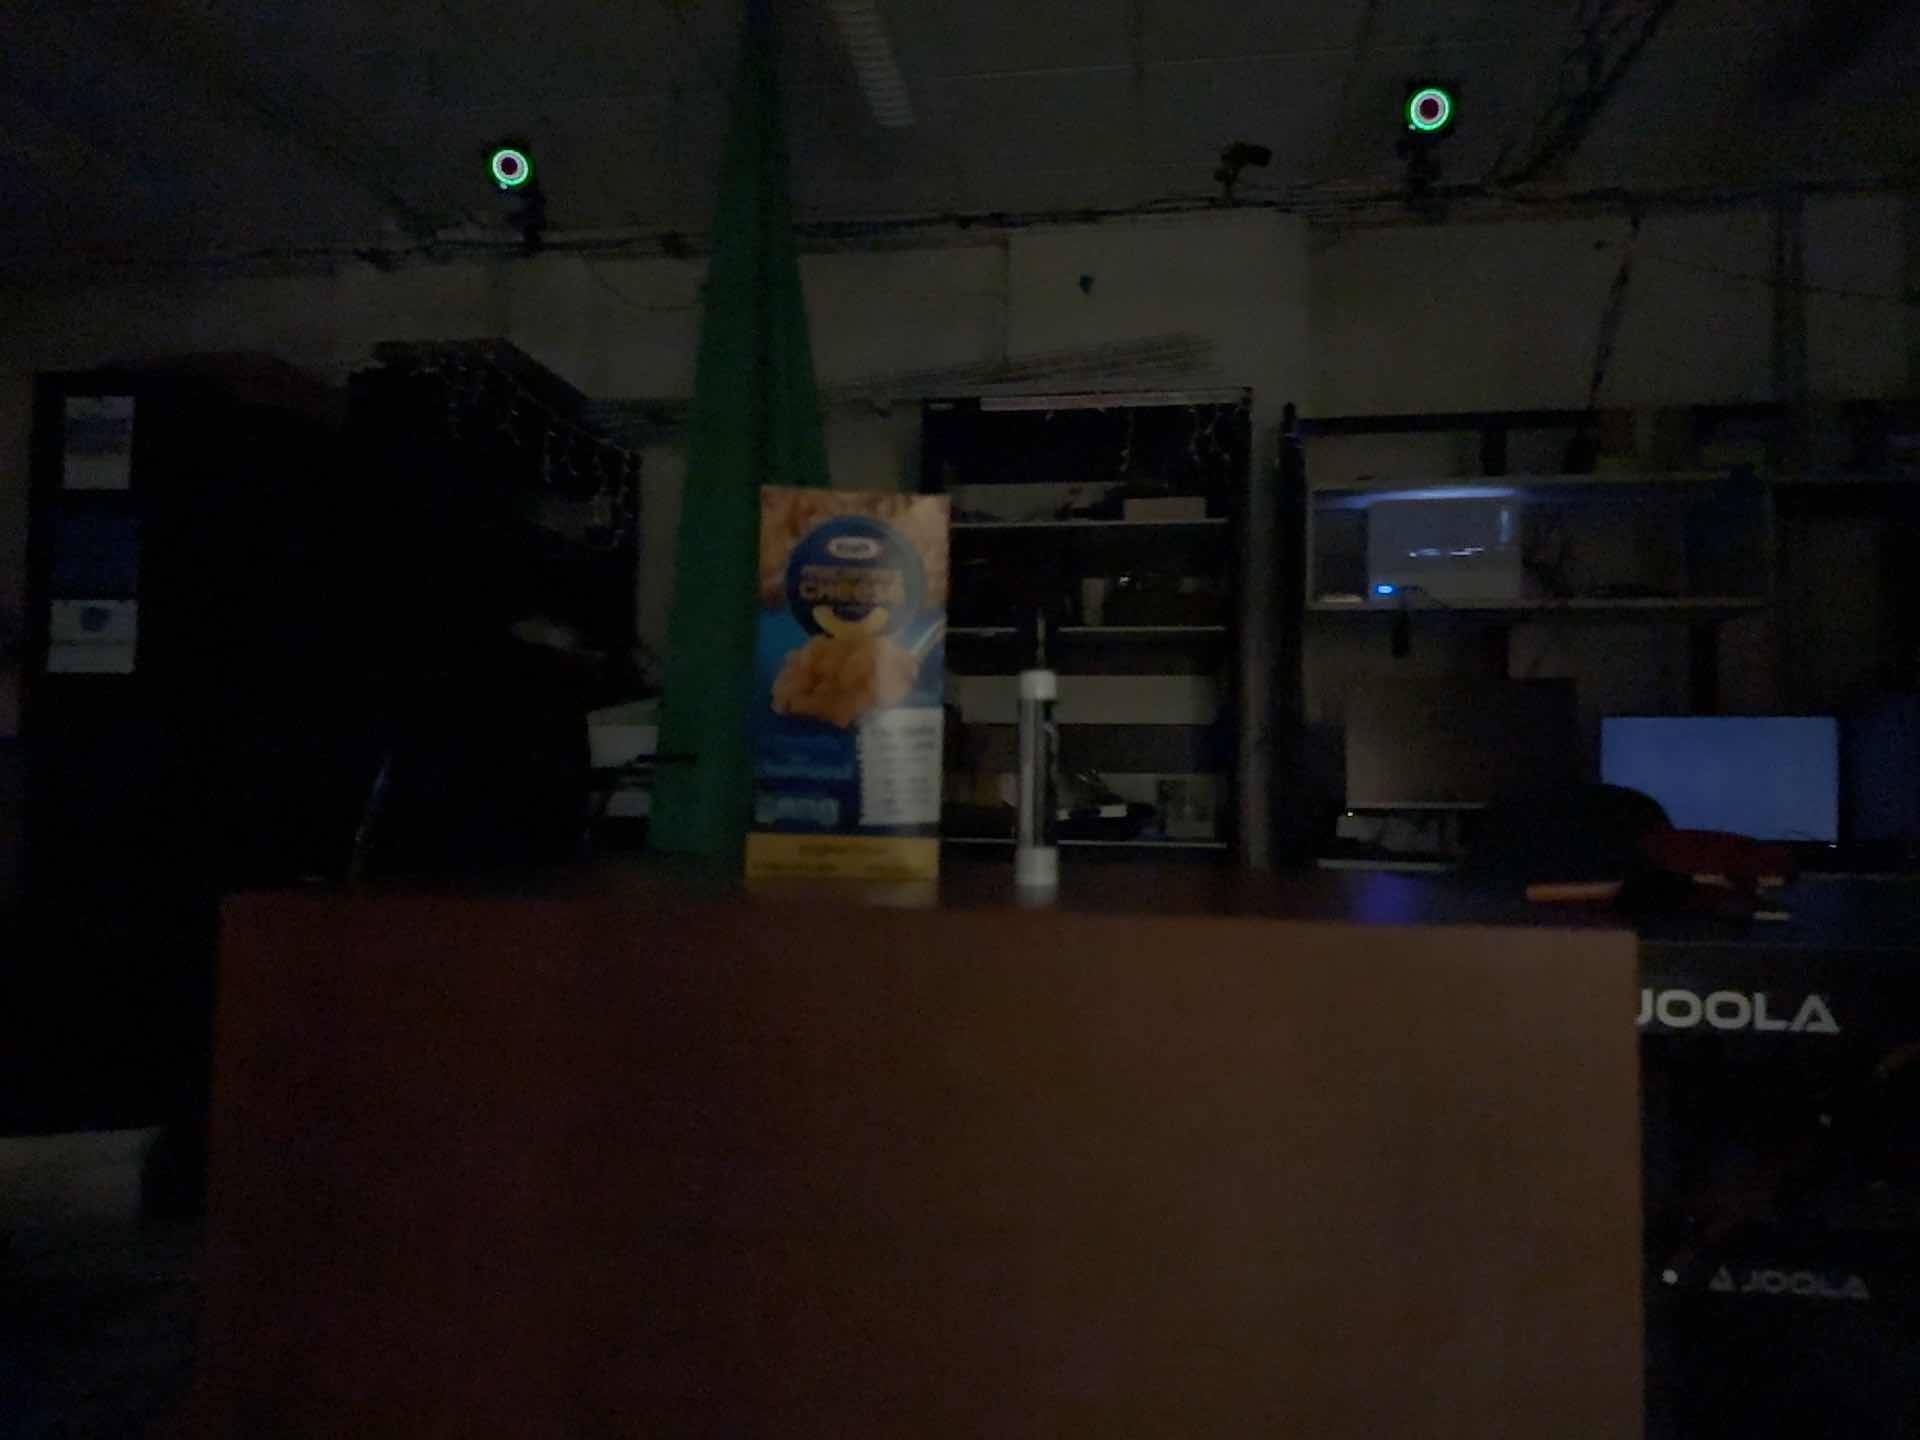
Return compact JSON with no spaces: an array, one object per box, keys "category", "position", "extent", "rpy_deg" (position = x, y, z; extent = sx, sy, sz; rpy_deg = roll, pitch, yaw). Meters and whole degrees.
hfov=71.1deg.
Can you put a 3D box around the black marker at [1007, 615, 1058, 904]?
[{"category":"black marker","position":[0.031,0.016,0.568],"extent":[0.020,0.121,0.020],"rpy_deg":[1,-4,0]}]

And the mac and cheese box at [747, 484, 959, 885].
[{"category":"mac and cheese box","position":[-0.049,-0.016,0.632],"extent":[0.088,0.181,0.035],"rpy_deg":[1,-3,2]}]
